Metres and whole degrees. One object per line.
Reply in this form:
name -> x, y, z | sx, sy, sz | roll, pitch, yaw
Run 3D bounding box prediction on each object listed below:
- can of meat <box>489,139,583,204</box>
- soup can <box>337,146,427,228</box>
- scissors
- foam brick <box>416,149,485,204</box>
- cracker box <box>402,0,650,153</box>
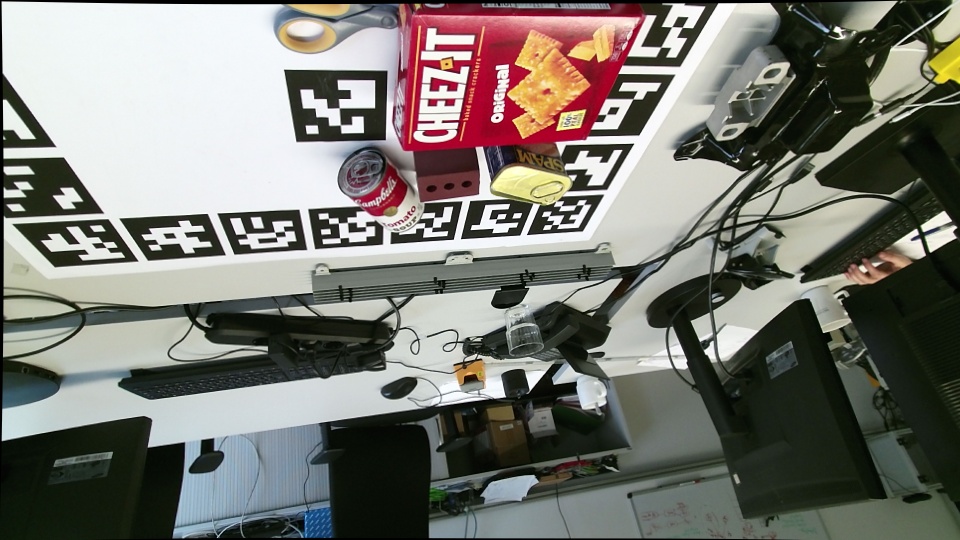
can of meat -> 0.065, -0.134, 0.660 | 0.102, 0.083, 0.058 | 3, 145, -26
soup can -> -0.120, -0.101, 0.675 | 0.068, 0.067, 0.102 | -25, 153, 18
scissors -> -0.075, -0.235, 0.486 | 0.203, 0.016, 0.088 | -8, 148, -10
foam brick -> -0.037, -0.124, 0.673 | 0.078, 0.051, 0.053 | -11, 148, -5
cracker box -> 0.038, -0.200, 0.527 | 0.214, 0.071, 0.164 | -11, 150, -12
